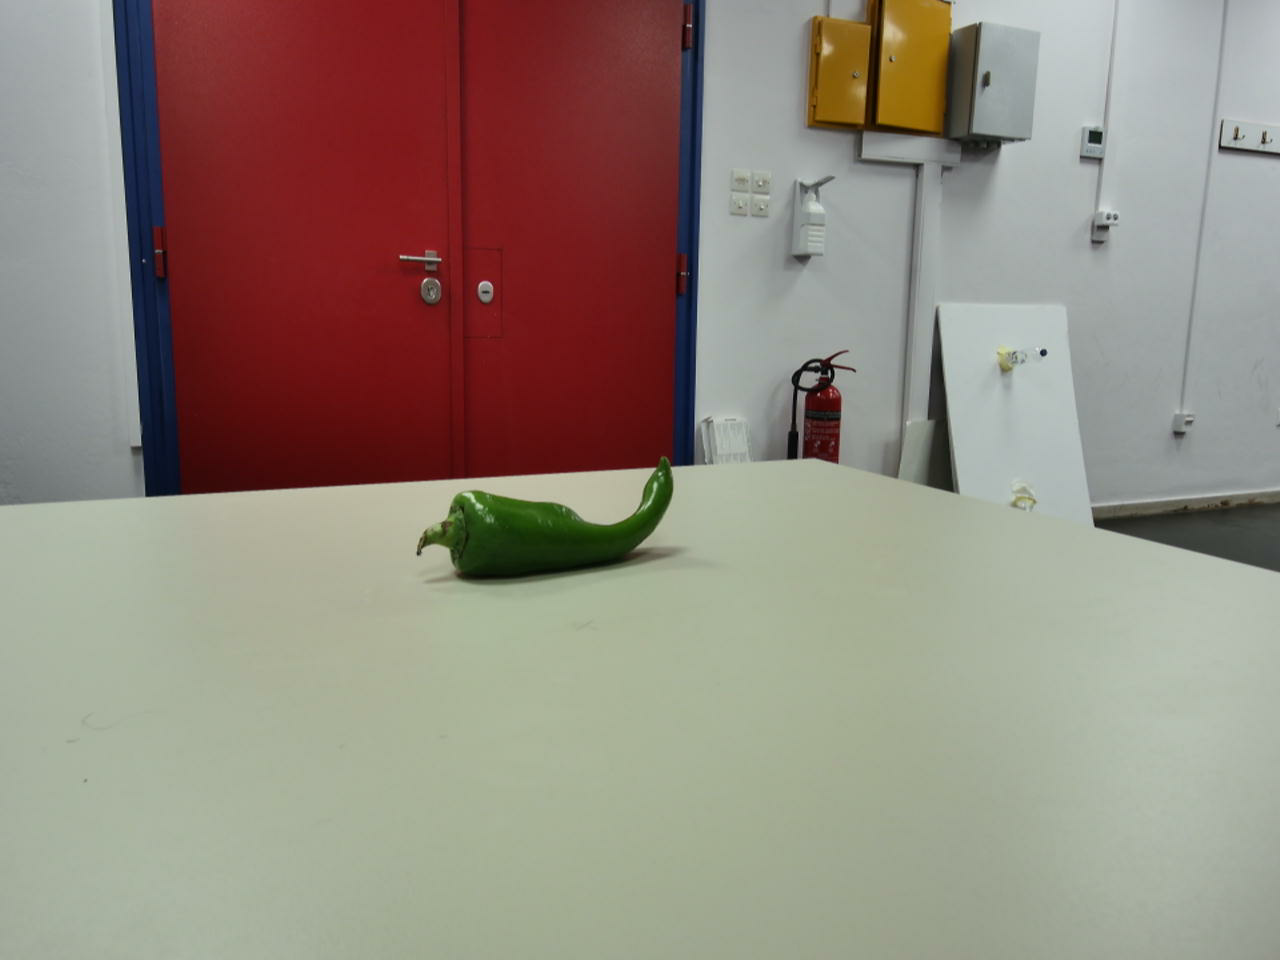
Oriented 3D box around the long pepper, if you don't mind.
[{"bbox_3d":[-0.052,0.023,0.619,0.175,0.065,0.058,-4,9,-26],"label":"long pepper"}]
